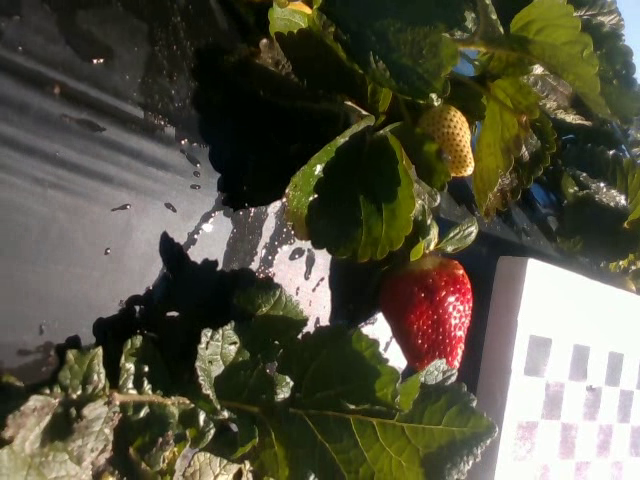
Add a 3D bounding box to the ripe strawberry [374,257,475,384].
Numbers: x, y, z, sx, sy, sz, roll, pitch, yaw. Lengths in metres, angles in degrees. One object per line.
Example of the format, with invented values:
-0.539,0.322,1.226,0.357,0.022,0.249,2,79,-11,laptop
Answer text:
0.055,0.038,0.297,0.048,0.069,0.040,-7,1,-37,ripe strawberry
